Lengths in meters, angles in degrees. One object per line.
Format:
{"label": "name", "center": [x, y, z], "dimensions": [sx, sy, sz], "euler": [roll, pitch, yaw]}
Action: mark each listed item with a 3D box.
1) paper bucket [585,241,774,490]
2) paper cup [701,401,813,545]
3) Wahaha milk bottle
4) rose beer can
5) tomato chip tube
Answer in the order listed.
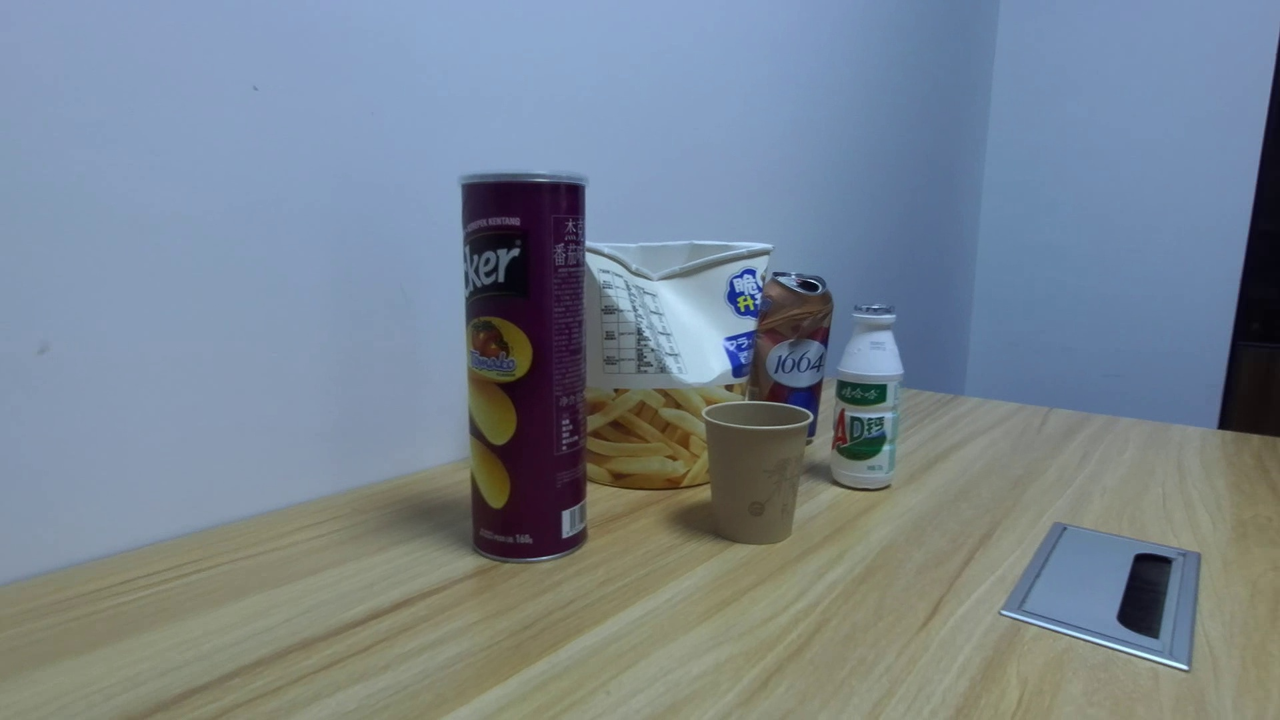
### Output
{"label": "paper bucket", "center": [0.005, -0.002, 0.608], "dimensions": [0.168, 0.202, 0.163], "euler": [5, 12, 40]}
{"label": "paper cup", "center": [0.078, 0.076, 0.480], "dimensions": [0.075, 0.082, 0.075], "euler": [1, 10, 0]}
{"label": "Wahaha milk bottle", "center": [0.184, 0.029, 0.573], "dimensions": [0.053, 0.147, 0.053], "euler": [1, 9, 0]}
{"label": "rose beer can", "center": [0.145, 0.000, 0.691], "dimensions": [0.069, 0.168, 0.069], "euler": [10, 18, 18]}
{"label": "tomato chip tube", "center": [-0.071, 0.005, 0.453], "dimensions": [0.078, 0.233, 0.078], "euler": [0, 10, 0]}
